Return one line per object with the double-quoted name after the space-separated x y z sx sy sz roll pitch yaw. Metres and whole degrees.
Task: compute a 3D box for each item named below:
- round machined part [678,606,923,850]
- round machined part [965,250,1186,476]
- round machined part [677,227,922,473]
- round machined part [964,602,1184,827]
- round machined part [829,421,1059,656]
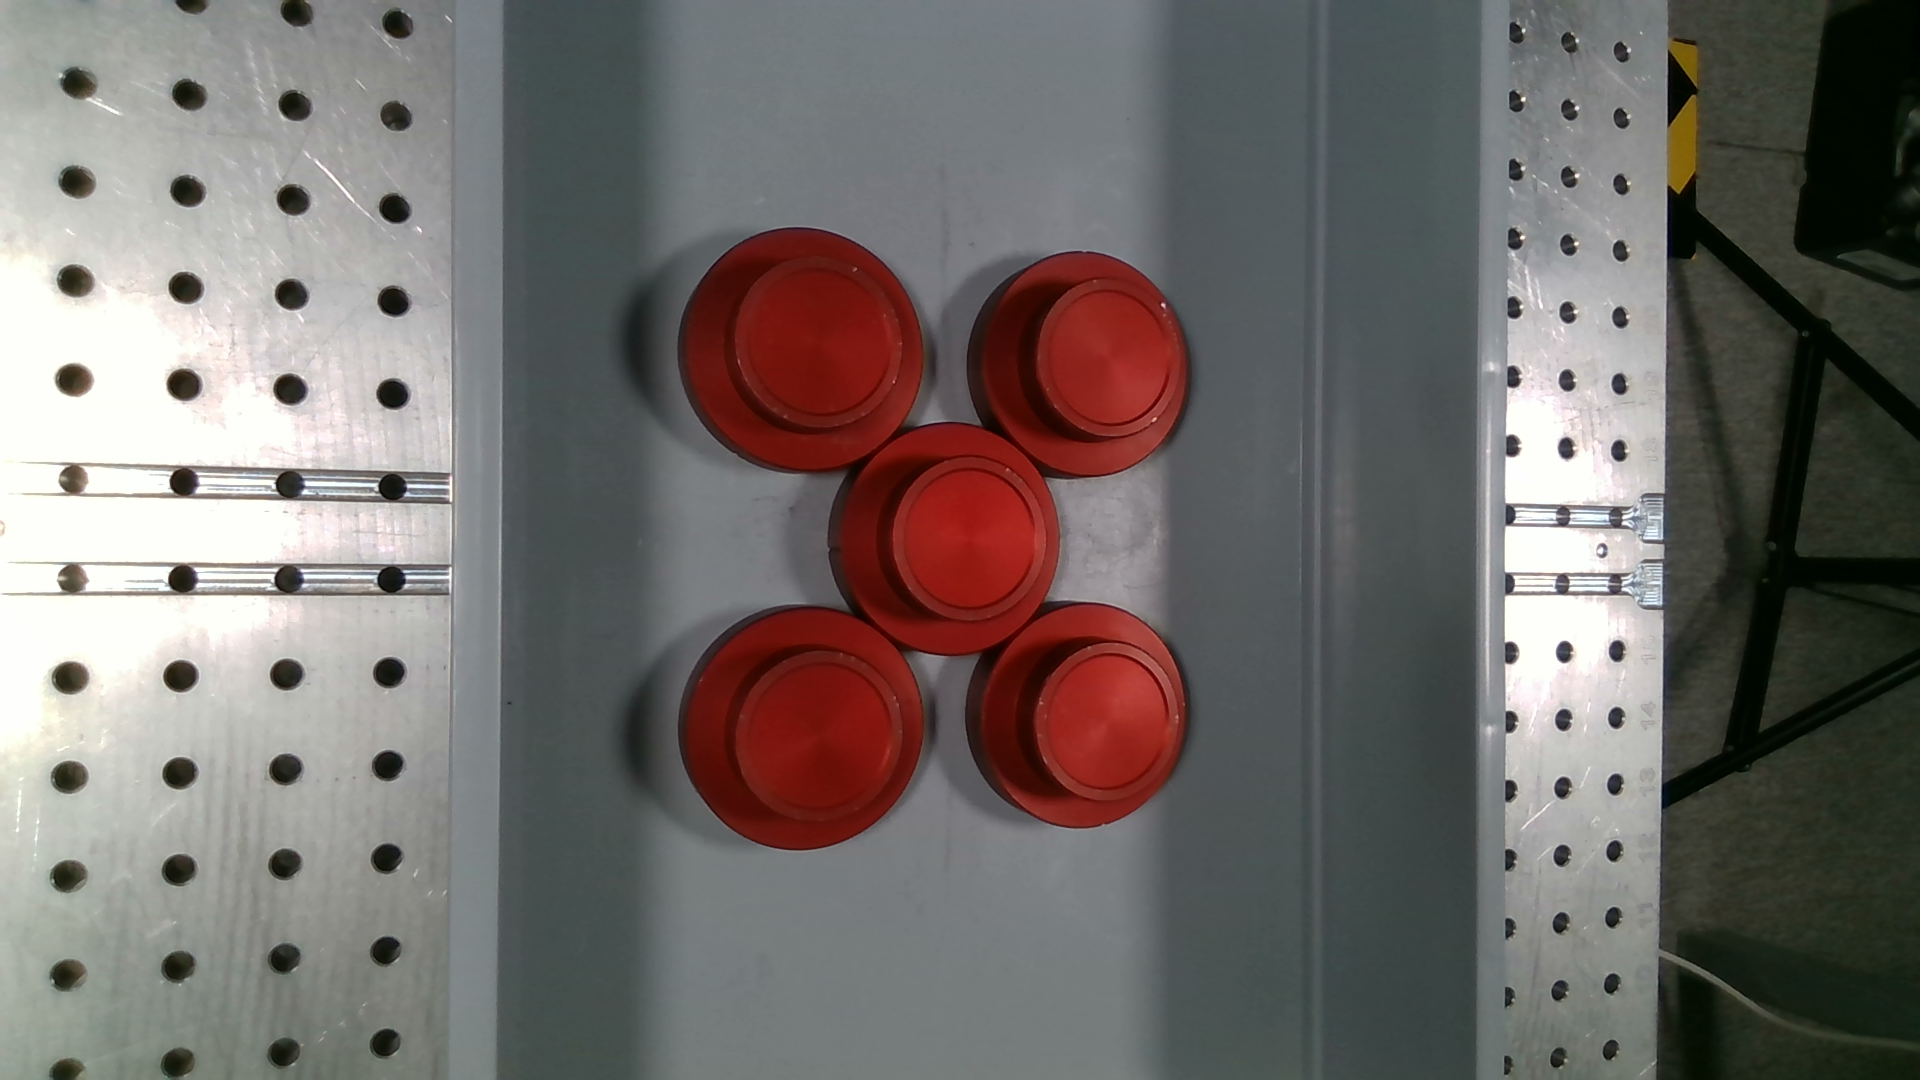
-0.061 0.076 0.554 0.098 0.042 0.098 0 90 -20 "round machined part"
0.055 -0.077 0.596 0.098 0.042 0.098 0 90 -20 "round machined part"
-0.061 -0.077 0.553 0.098 0.042 0.098 0 90 -20 "round machined part"
0.055 0.076 0.596 0.098 0.042 0.098 0 90 -20 "round machined part"
-0.003 -0.001 0.574 0.098 0.042 0.098 0 90 -20 "round machined part"
